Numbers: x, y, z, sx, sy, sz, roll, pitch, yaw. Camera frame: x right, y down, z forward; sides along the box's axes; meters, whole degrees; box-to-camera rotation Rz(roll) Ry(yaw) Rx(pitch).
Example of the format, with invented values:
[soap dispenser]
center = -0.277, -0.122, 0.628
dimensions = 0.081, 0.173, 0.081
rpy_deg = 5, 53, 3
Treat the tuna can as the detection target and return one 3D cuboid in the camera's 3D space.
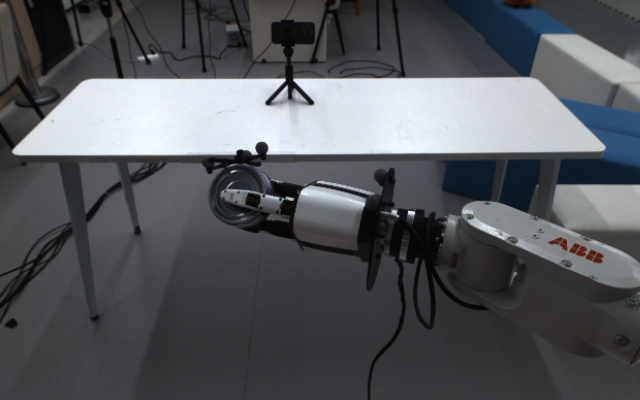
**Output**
[tuna can]
center = -0.103, 0.000, 0.652
dimensions = 0.085, 0.085, 0.034
rpy_deg = 12, -6, 14
